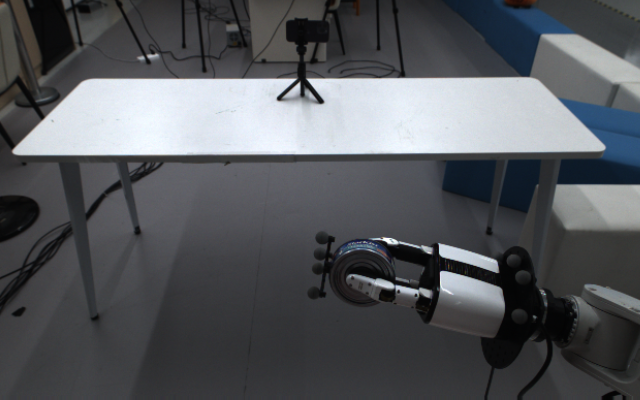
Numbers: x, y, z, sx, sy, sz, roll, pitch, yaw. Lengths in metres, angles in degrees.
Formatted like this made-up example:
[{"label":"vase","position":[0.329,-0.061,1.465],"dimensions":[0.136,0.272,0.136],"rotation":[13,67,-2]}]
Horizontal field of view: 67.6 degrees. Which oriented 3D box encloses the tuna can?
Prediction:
[{"label":"tuna can","position":[0.057,0.099,0.624],"dimensions":[0.085,0.085,0.034],"rotation":[5,17,4]}]
